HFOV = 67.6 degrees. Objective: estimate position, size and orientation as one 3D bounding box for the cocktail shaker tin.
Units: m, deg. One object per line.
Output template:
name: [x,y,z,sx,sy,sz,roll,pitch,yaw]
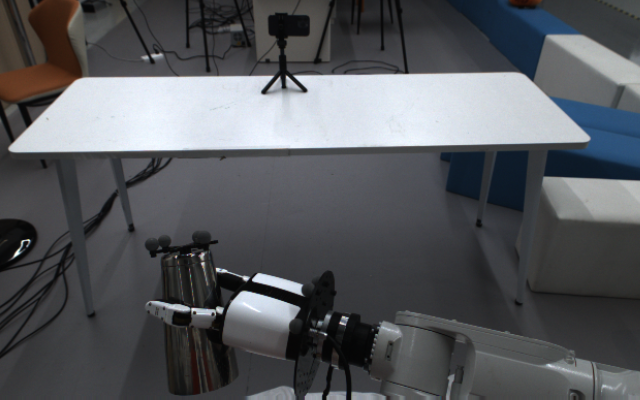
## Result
cocktail shaker tin: [-0.164,0.155,0.636,0.093,0.170,0.093,-8,1,0]
